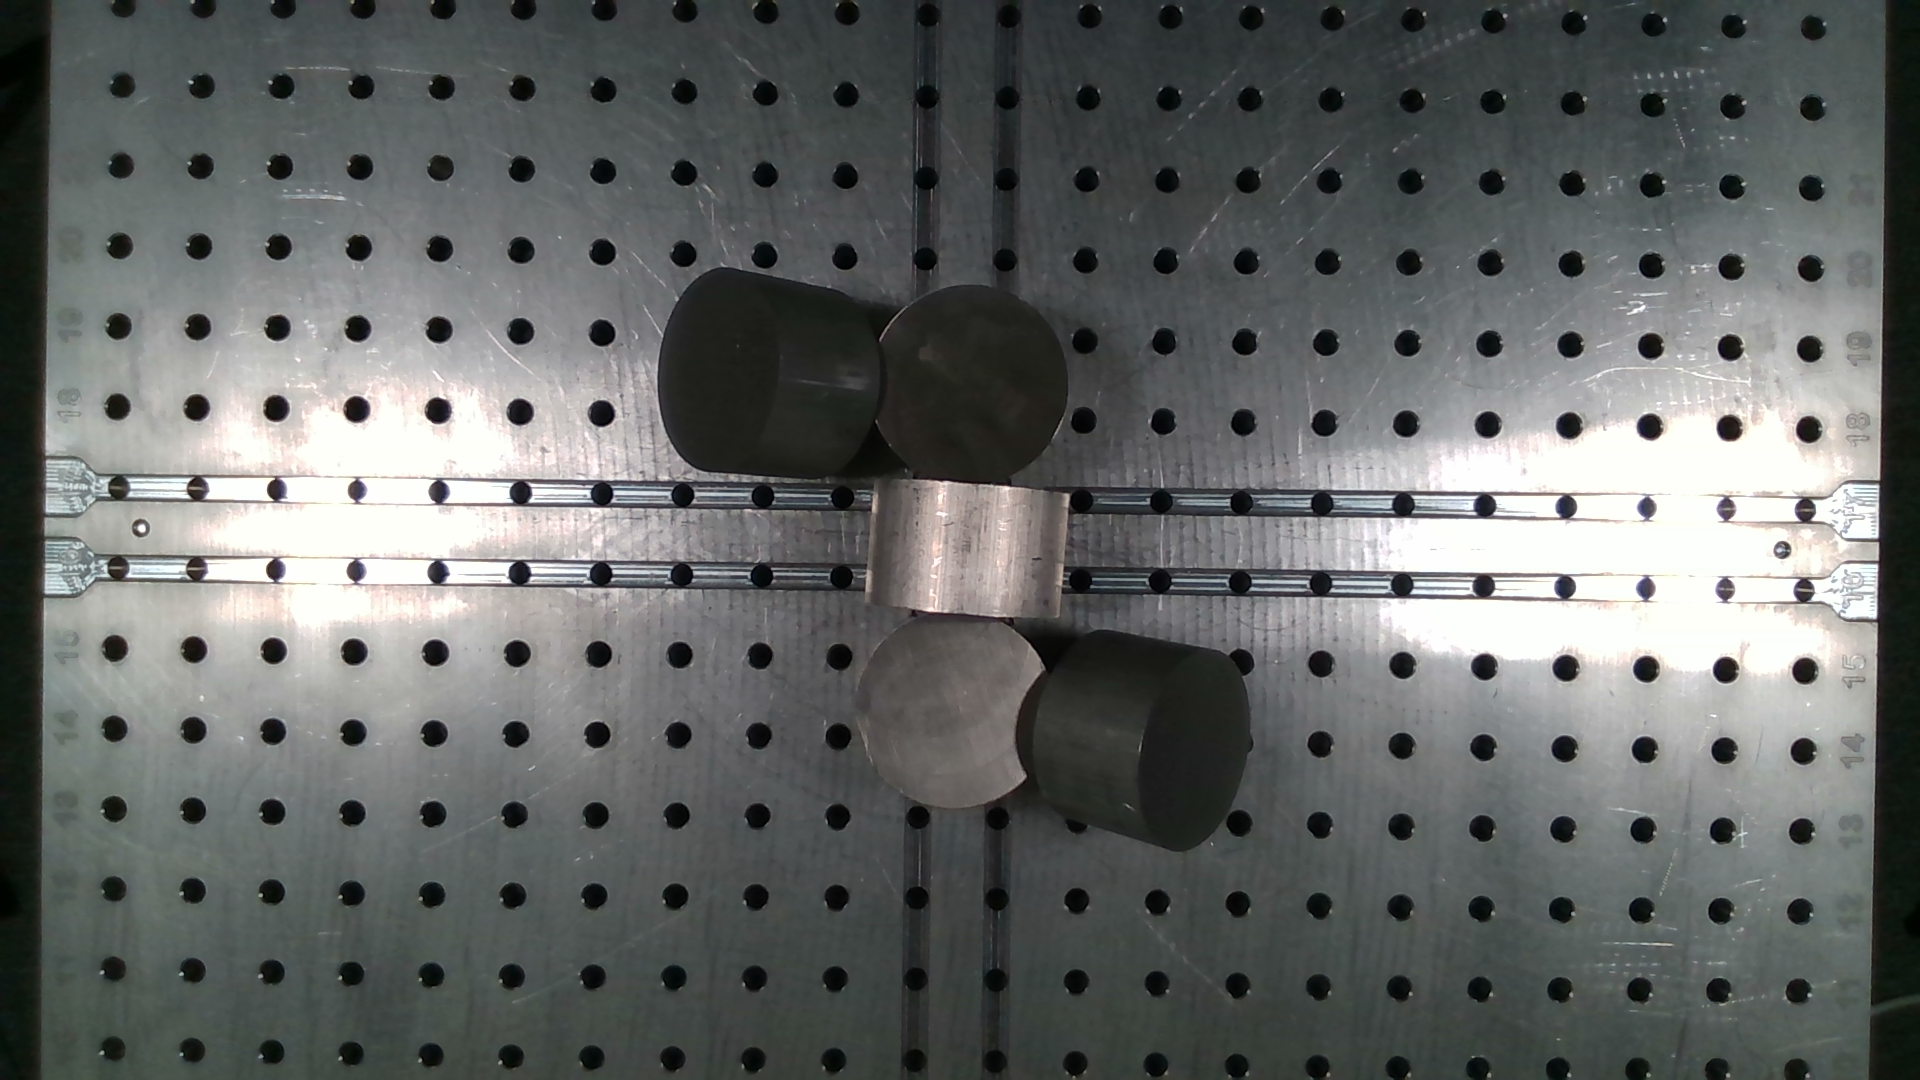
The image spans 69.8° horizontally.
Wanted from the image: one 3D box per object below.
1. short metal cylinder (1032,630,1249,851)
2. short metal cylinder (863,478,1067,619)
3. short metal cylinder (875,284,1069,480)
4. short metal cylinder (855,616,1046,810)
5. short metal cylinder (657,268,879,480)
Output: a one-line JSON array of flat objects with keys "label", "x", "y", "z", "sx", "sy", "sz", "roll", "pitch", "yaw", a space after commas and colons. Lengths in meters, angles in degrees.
[{"label": "short metal cylinder", "x": 0.074, "y": 0.080, "z": 0.556, "sx": 0.050, "sy": 0.080, "sz": 0.080, "roll": 9, "pitch": 90, "yaw": 42}, {"label": "short metal cylinder", "x": 0.003, "y": 0.003, "z": 0.562, "sx": 0.080, "sy": 0.080, "sz": 0.050, "roll": 5, "pitch": 90, "yaw": 0}, {"label": "short metal cylinder", "x": 0.004, "y": -0.063, "z": 0.576, "sx": 0.080, "sy": 0.050, "sz": 0.080, "roll": 0, "pitch": 90, "yaw": 0}, {"label": "short metal cylinder", "x": -0.002, "y": 0.068, "z": 0.577, "sx": 0.080, "sy": 0.050, "sz": 0.080, "roll": 0, "pitch": 90, "yaw": 0}, {"label": "short metal cylinder", "x": -0.078, "y": -0.065, "z": 0.556, "sx": 0.080, "sy": 0.050, "sz": 0.080, "roll": -1, "pitch": 88, "yaw": 44}]
